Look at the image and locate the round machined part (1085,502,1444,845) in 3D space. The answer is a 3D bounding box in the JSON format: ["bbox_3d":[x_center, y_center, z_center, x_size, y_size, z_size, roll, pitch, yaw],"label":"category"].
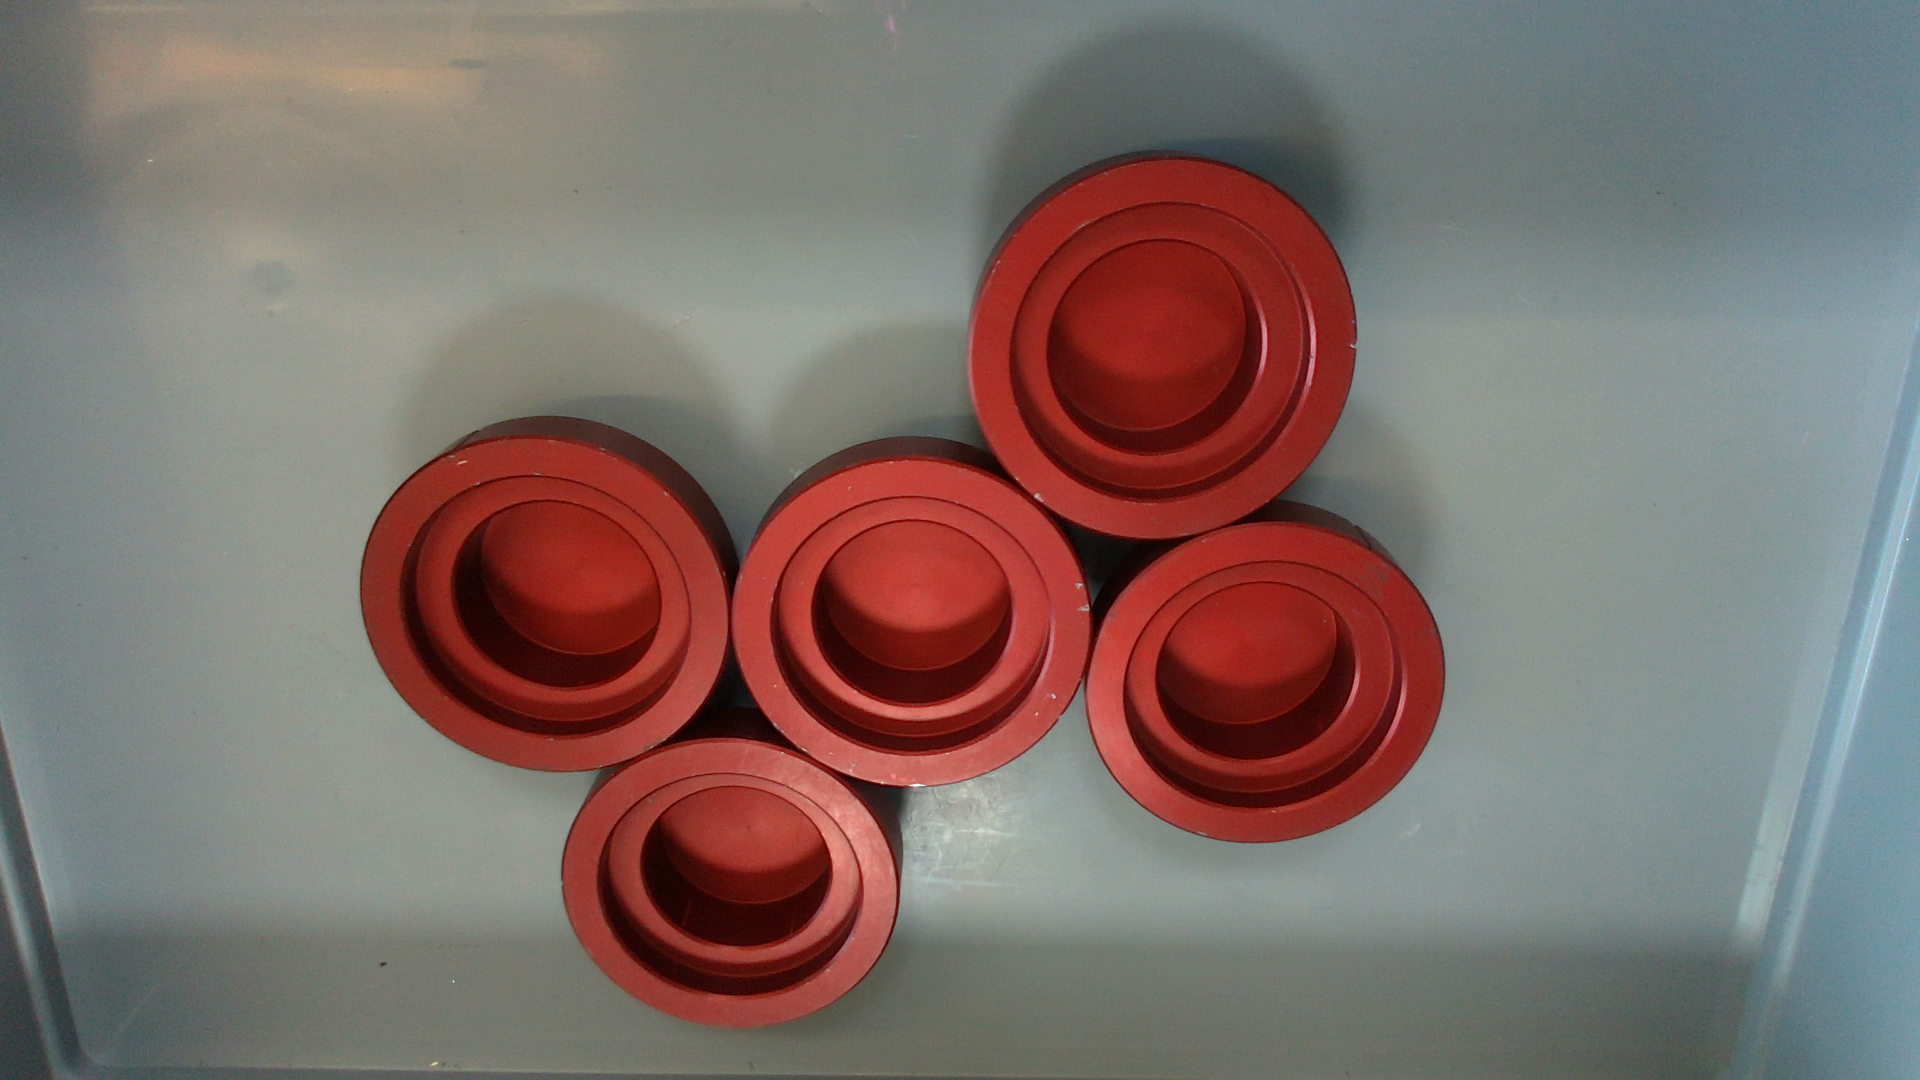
[{"bbox_3d":[0.084,0.035,0.396,0.098,0.042,0.098,0,110,0],"label":"round machined part"}]

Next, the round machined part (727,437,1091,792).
[{"bbox_3d":[-0.014,0.018,0.388,0.098,0.042,0.098,0,110,0],"label":"round machined part"}]

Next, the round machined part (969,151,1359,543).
[{"bbox_3d":[0.051,-0.052,0.364,0.098,0.042,0.098,0,110,0],"label":"round machined part"}]

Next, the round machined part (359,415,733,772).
[{"bbox_3d":[-0.111,0.012,0.387,0.098,0.042,0.098,0,110,0],"label":"round machined part"}]

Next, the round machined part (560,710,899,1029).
[{"bbox_3d":[-0.067,0.095,0.417,0.098,0.042,0.098,0,110,0],"label":"round machined part"}]
